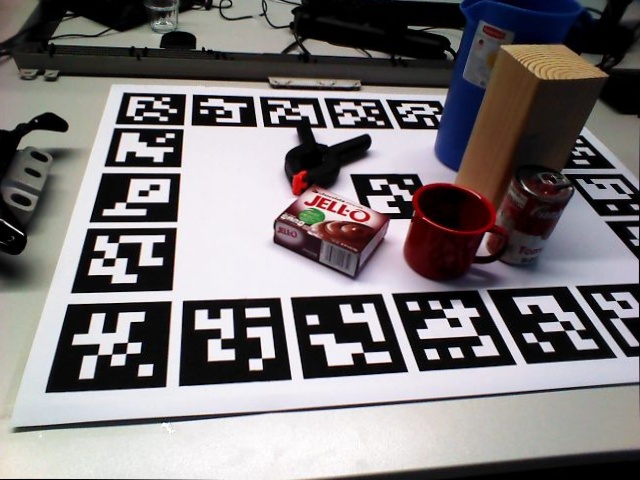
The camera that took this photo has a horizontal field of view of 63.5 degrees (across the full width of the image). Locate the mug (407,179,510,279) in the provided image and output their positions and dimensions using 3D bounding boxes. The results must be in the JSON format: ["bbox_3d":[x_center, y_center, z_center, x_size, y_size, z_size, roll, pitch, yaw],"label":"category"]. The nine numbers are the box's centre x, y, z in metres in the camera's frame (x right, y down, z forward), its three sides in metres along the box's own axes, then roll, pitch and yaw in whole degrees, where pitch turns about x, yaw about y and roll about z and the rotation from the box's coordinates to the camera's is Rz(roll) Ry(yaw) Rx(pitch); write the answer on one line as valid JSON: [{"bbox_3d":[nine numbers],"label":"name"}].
[{"bbox_3d":[0.155,-0.007,0.579,0.117,0.082,0.092,22,42,19],"label":"mug"}]

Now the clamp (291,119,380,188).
[{"bbox_3d":[0.007,-0.121,0.734,0.122,0.037,0.164,23,45,8],"label":"clamp"}]

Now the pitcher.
[{"bbox_3d":[0.266,-0.222,0.713,0.189,0.243,0.133,-4,41,-7],"label":"pitcher"}]

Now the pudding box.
[{"bbox_3d":[0.007,-0.017,0.610,0.114,0.039,0.089,24,48,20],"label":"pudding box"}]

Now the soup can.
[{"bbox_3d":[0.246,-0.031,0.598,0.068,0.102,0.067,3,44,-3],"label":"soup can"}]

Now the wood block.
[{"bbox_3d":[0.256,-0.129,0.631,0.090,0.207,0.090,-1,42,-13],"label":"wood block"}]
